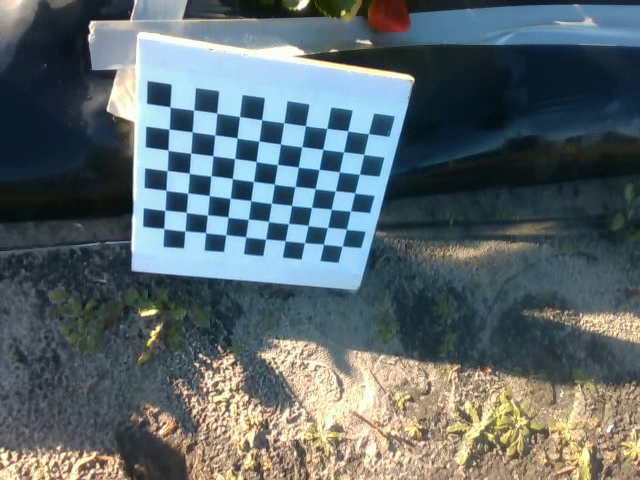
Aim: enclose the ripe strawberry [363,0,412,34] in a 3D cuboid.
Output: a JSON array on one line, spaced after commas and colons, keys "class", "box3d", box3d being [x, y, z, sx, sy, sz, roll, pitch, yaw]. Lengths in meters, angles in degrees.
[{"class": "ripe strawberry", "box3d": [0.076, -0.235, 0.618, 0.048, 0.045, 0.064, 12, 33, -47]}]
